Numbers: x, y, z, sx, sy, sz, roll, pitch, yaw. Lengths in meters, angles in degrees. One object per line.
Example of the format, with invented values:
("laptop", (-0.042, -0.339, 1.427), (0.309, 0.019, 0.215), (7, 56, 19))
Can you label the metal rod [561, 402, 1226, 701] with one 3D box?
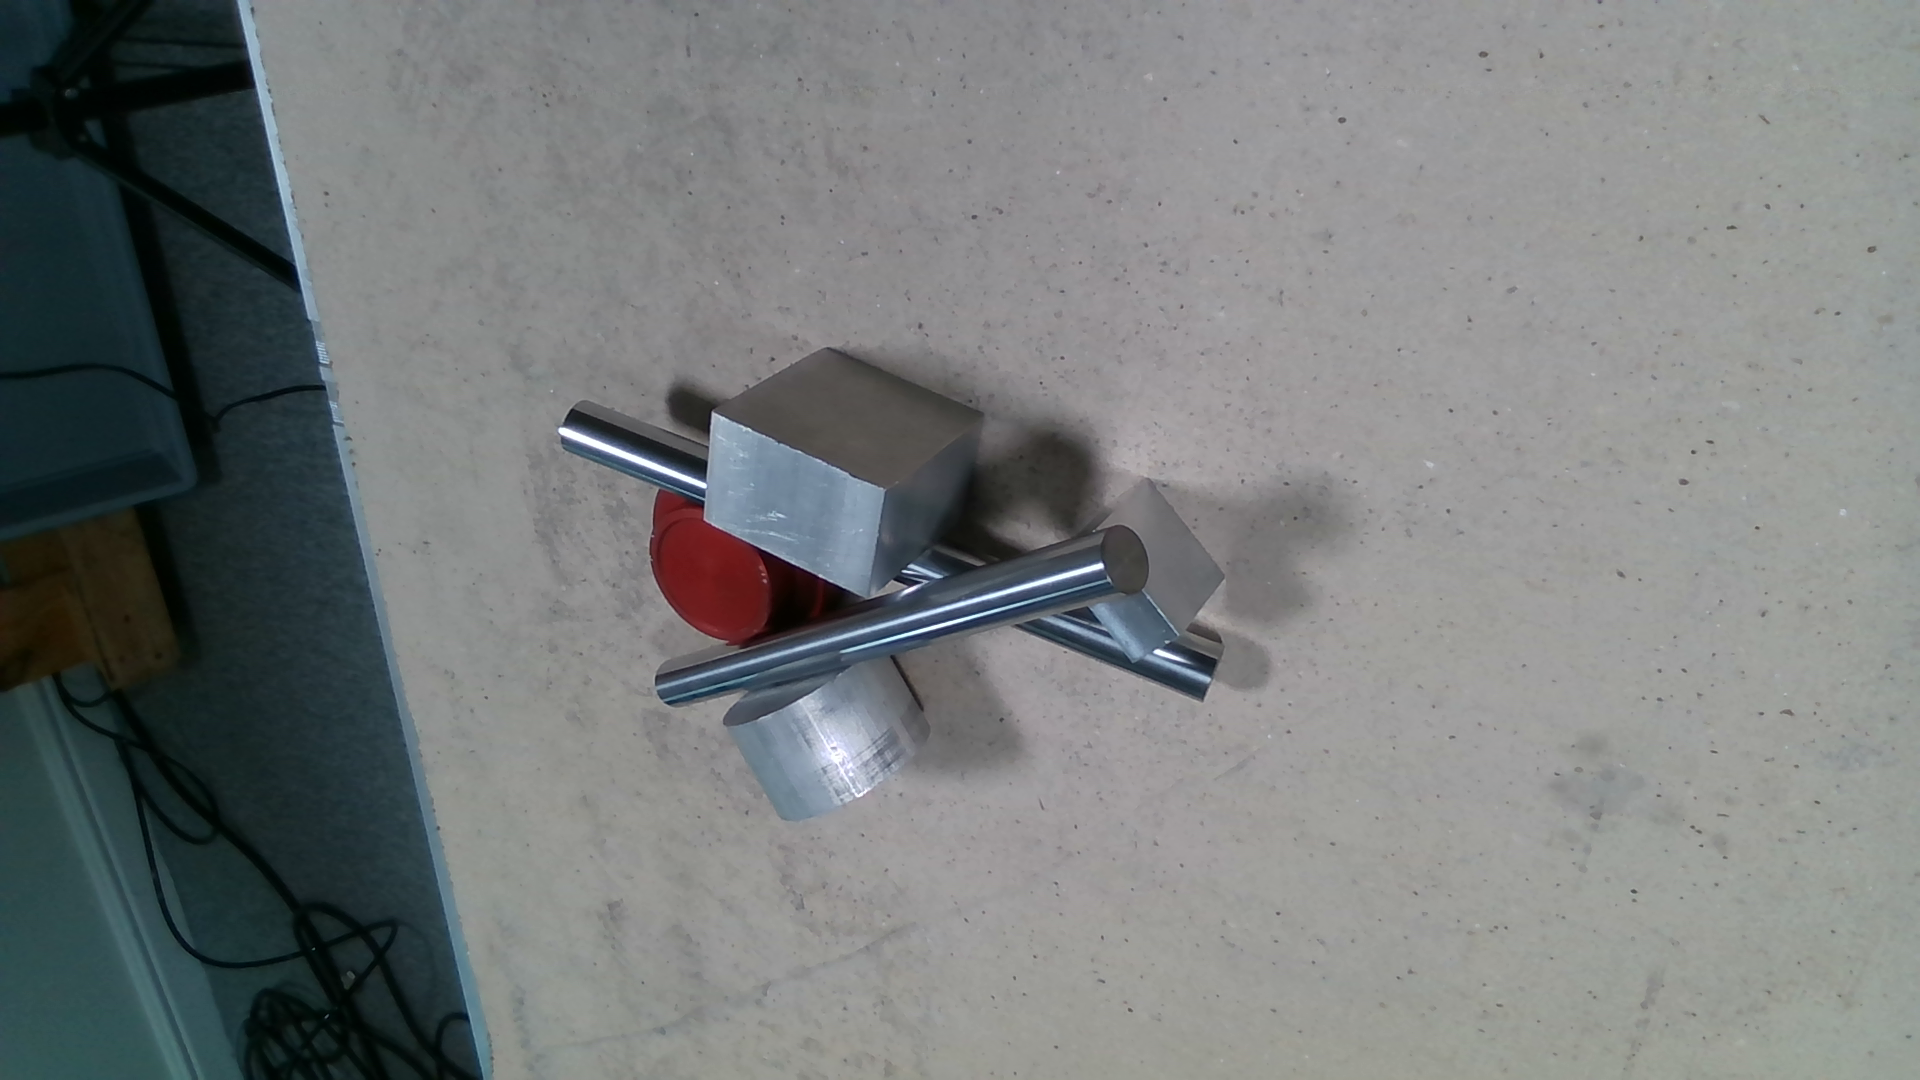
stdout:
("metal rod", (-0.035, 0.001, 0.583), (0.300, 0.025, 0.025), (21, 125, 13))

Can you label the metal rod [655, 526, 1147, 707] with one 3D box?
("metal rod", (-0.043, 0.040, 0.584), (0.300, 0.025, 0.025), (-18, 105, 46))

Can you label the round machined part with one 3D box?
("round machined part", (-0.105, 0.007, 0.638), (0.098, 0.042, 0.098), (14, 122, 25))

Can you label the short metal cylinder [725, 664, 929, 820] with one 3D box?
("short metal cylinder", (-0.061, 0.083, 0.628), (0.080, 0.080, 0.050), (-20, 103, 38))

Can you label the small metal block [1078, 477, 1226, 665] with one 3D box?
("small metal block", (0.069, 0.011, 0.527), (0.050, 0.050, 0.025), (51, 129, -2))

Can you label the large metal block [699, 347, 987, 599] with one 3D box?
("large metal block", (-0.047, -0.030, 0.557), (0.080, 0.080, 0.050), (25, 126, 18))
